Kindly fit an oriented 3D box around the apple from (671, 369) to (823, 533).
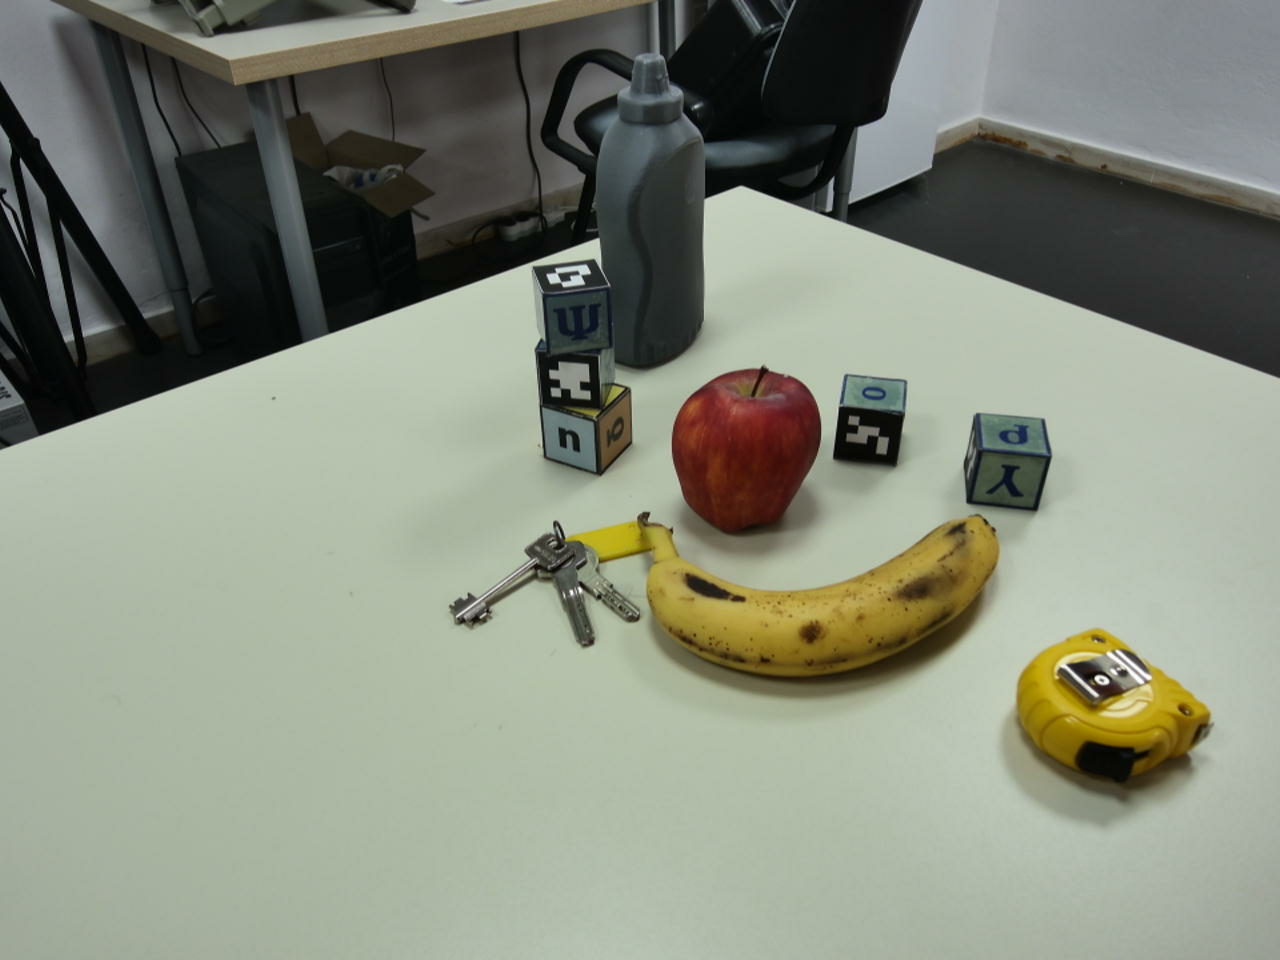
[{"bbox_3d":[0.058,-0.022,0.536,0.083,0.090,0.083,-1,36,1],"label":"apple"}]
